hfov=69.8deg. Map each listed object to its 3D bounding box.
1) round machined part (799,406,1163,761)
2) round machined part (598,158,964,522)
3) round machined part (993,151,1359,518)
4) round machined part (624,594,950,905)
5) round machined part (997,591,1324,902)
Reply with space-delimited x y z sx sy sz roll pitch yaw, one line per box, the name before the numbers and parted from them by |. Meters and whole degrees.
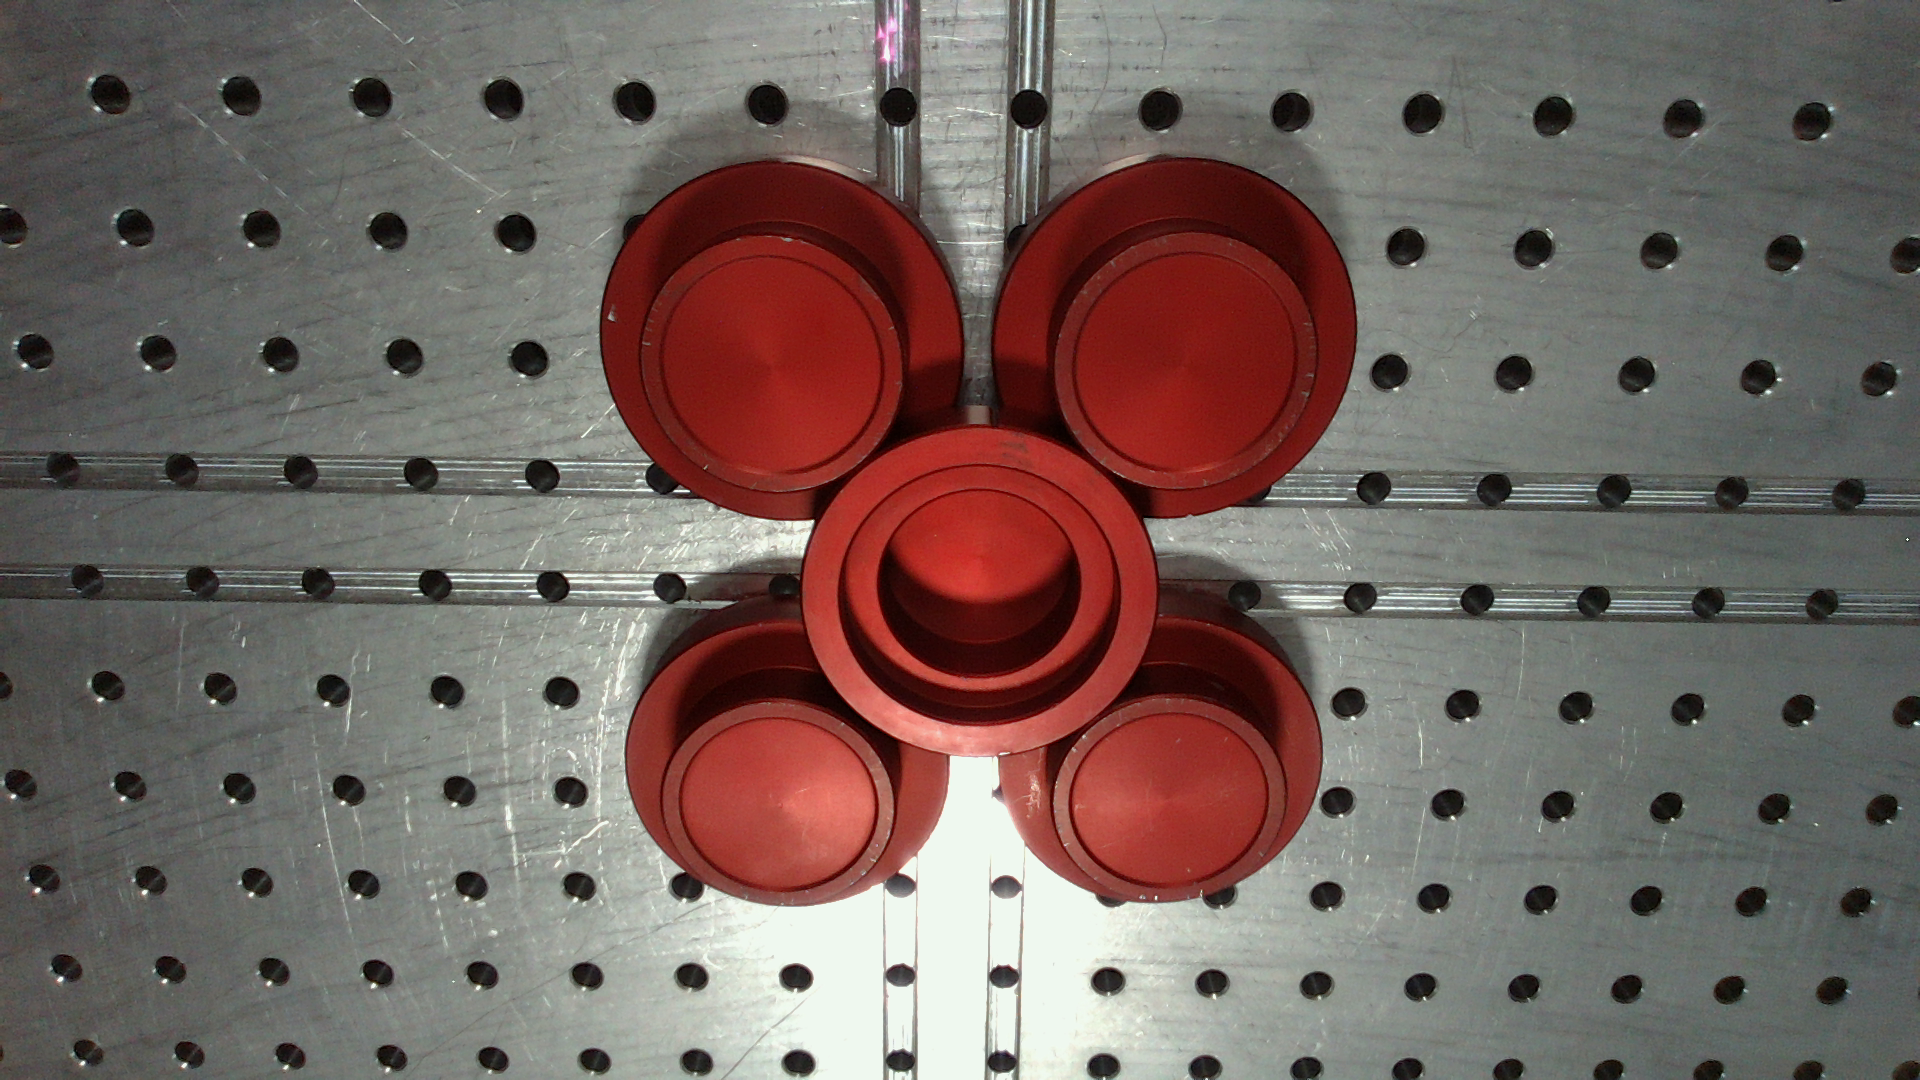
round machined part | 0.006 0.009 0.389 0.098 0.042 0.098 0 110 0
round machined part | -0.048 -0.051 0.368 0.098 0.042 0.098 0 110 0
round machined part | 0.058 -0.052 0.368 0.098 0.042 0.098 0 110 0
round machined part | -0.052 0.069 0.413 0.098 0.042 0.098 0 110 0
round machined part | 0.060 0.068 0.412 0.098 0.042 0.098 0 110 0
